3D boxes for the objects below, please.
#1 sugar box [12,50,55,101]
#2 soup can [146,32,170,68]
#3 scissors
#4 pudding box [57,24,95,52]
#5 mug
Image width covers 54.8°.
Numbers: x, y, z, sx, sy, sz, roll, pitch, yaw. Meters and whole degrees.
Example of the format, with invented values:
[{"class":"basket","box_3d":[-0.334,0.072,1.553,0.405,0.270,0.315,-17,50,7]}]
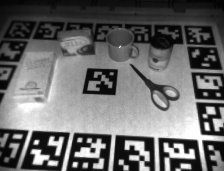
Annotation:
[{"class":"sugar box","box_3d":[-0.246,-0.039,0.688,0.093,0.045,0.175,-1,60,4]},{"class":"soup can","box_3d":[0.143,-0.111,0.689,0.068,0.102,0.067,-2,57,3]},{"class":"scissors","box_3d":[0.115,-0.013,0.670,0.088,0.016,0.201,-39,65,-9]},{"class":"pudding box","box_3d":[-0.117,-0.158,0.721,0.114,0.090,0.038,-6,65,-1]},{"class":"mug","box_3d":[0.031,-0.148,0.719,0.093,0.082,0.116,-30,60,-12]}]
